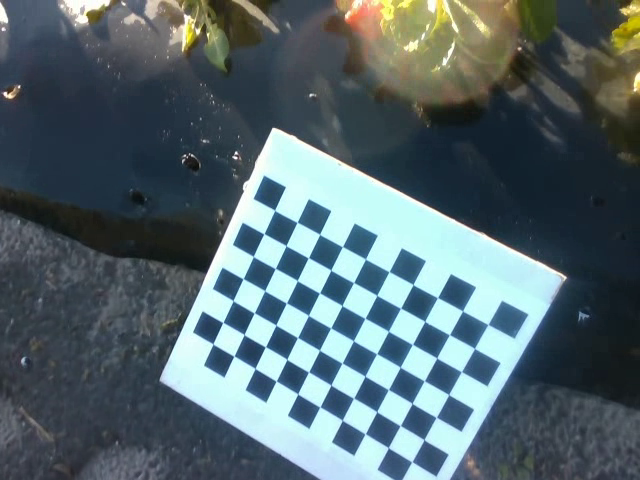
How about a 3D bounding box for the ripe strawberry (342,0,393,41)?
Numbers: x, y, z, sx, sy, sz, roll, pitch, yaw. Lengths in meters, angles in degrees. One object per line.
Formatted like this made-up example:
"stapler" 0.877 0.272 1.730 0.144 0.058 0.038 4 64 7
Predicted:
"ripe strawberry" 0.037 -0.188 0.471 0.040 0.038 0.055 14 12 38
